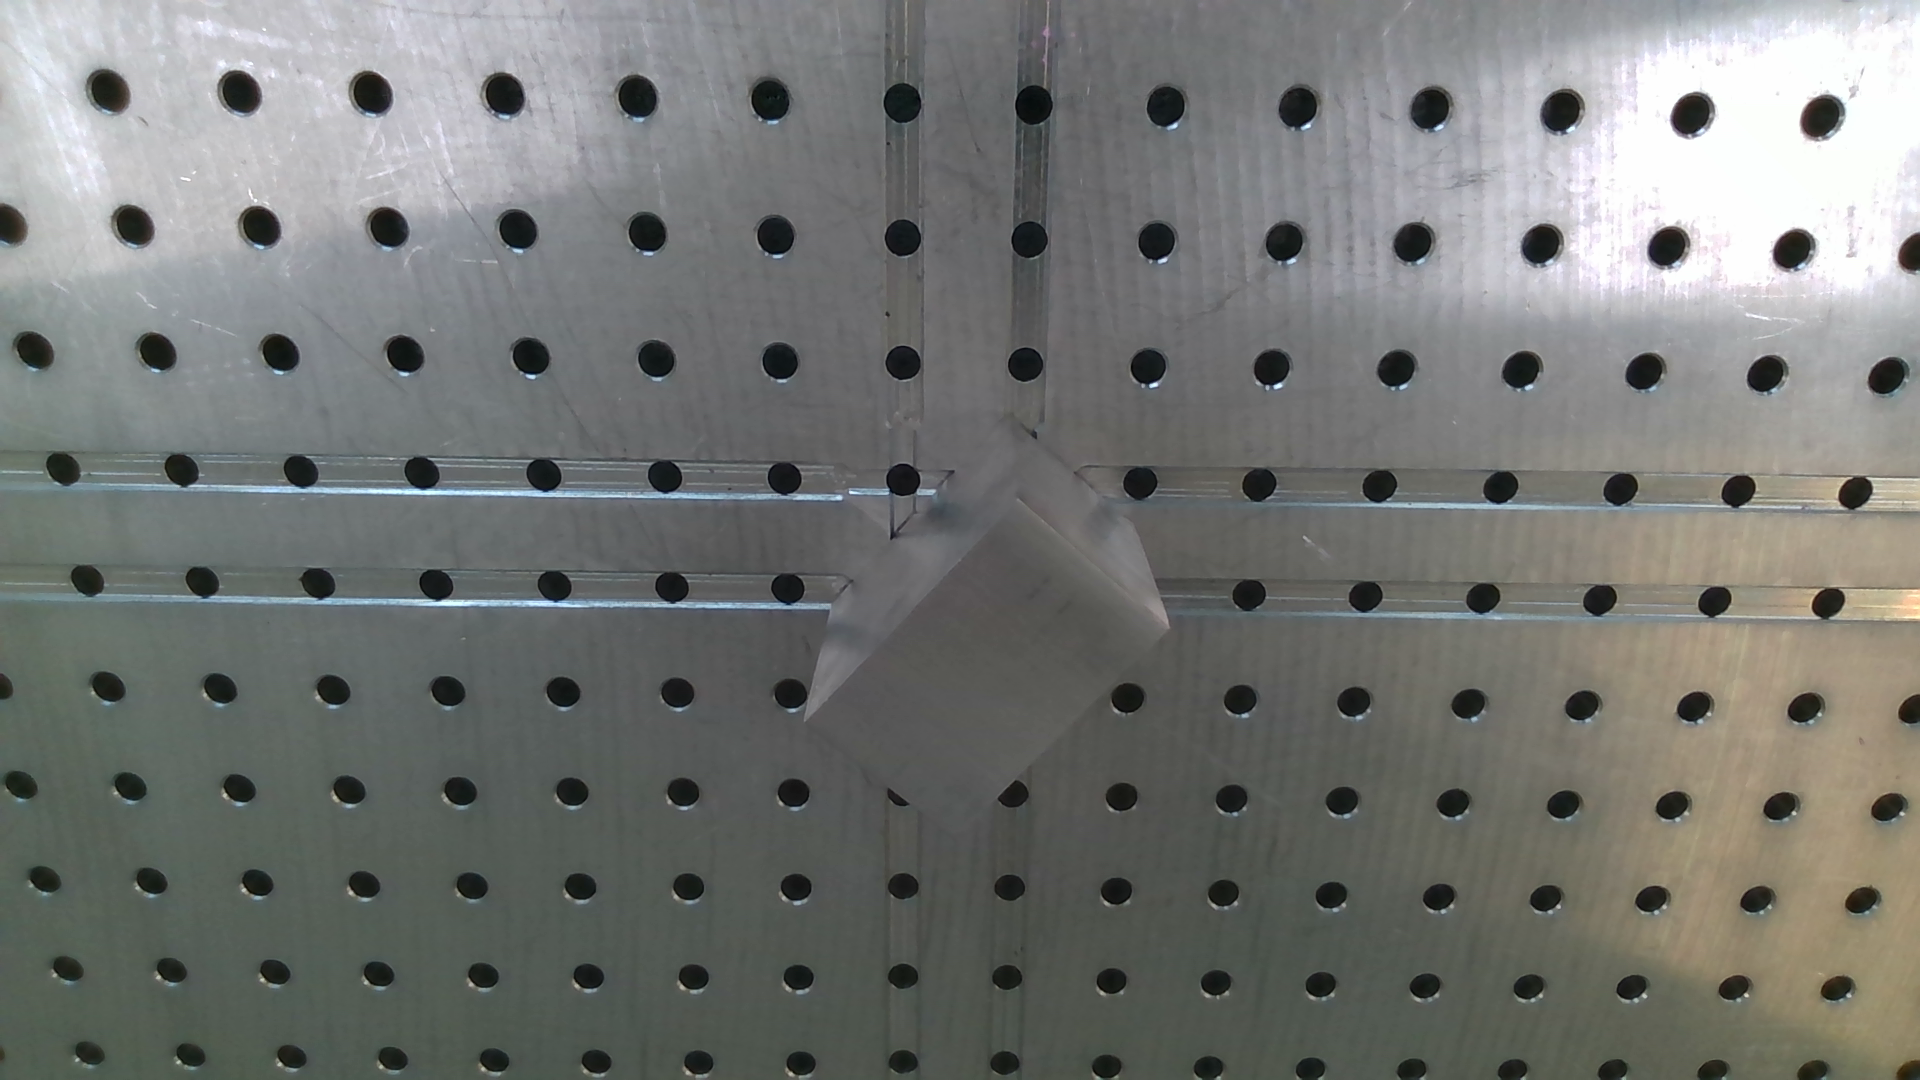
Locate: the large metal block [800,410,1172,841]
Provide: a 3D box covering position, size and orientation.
[{"bbox_3d":[0.006,0.020,0.373,0.050,0.080,0.080,40,106,-13],"label":"large metal block"}]
